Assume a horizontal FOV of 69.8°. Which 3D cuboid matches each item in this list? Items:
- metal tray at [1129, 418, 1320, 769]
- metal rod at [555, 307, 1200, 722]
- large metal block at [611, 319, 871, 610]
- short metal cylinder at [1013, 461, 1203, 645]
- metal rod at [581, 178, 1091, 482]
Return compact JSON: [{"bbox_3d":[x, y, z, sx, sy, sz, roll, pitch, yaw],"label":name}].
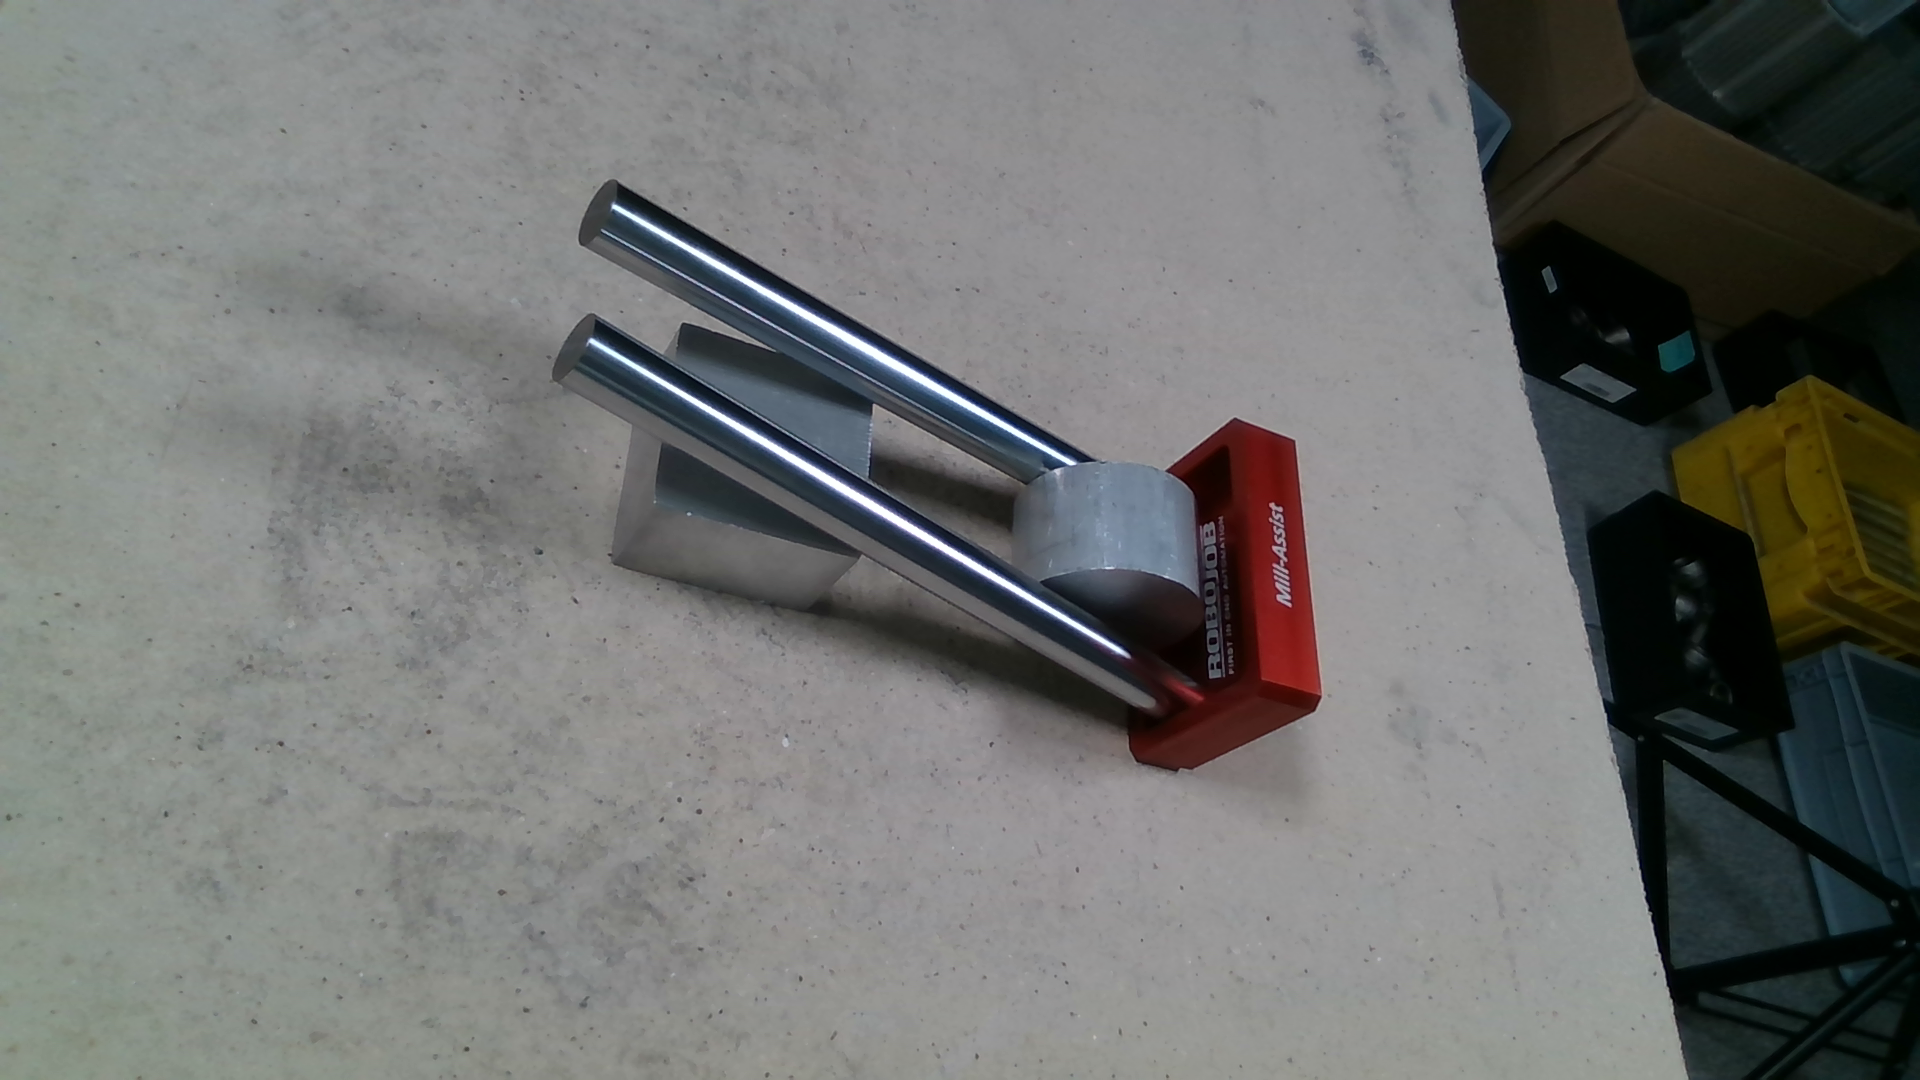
[{"bbox_3d":[0.110,0.024,0.599,0.030,0.090,0.130,16,58,-24],"label":"metal tray"},{"bbox_3d":[-0.014,0.004,0.515,0.301,0.025,0.025,32,51,-32],"label":"metal rod"},{"bbox_3d":[-0.082,-0.027,0.531,0.080,0.050,0.080,16,58,-24],"label":"large metal block"},{"bbox_3d":[0.062,0.009,0.585,0.080,0.080,0.050,16,58,-24],"label":"short metal cylinder"},{"bbox_3d":[-0.012,-0.057,0.551,0.301,0.025,0.025,26,53,-36],"label":"metal rod"}]
